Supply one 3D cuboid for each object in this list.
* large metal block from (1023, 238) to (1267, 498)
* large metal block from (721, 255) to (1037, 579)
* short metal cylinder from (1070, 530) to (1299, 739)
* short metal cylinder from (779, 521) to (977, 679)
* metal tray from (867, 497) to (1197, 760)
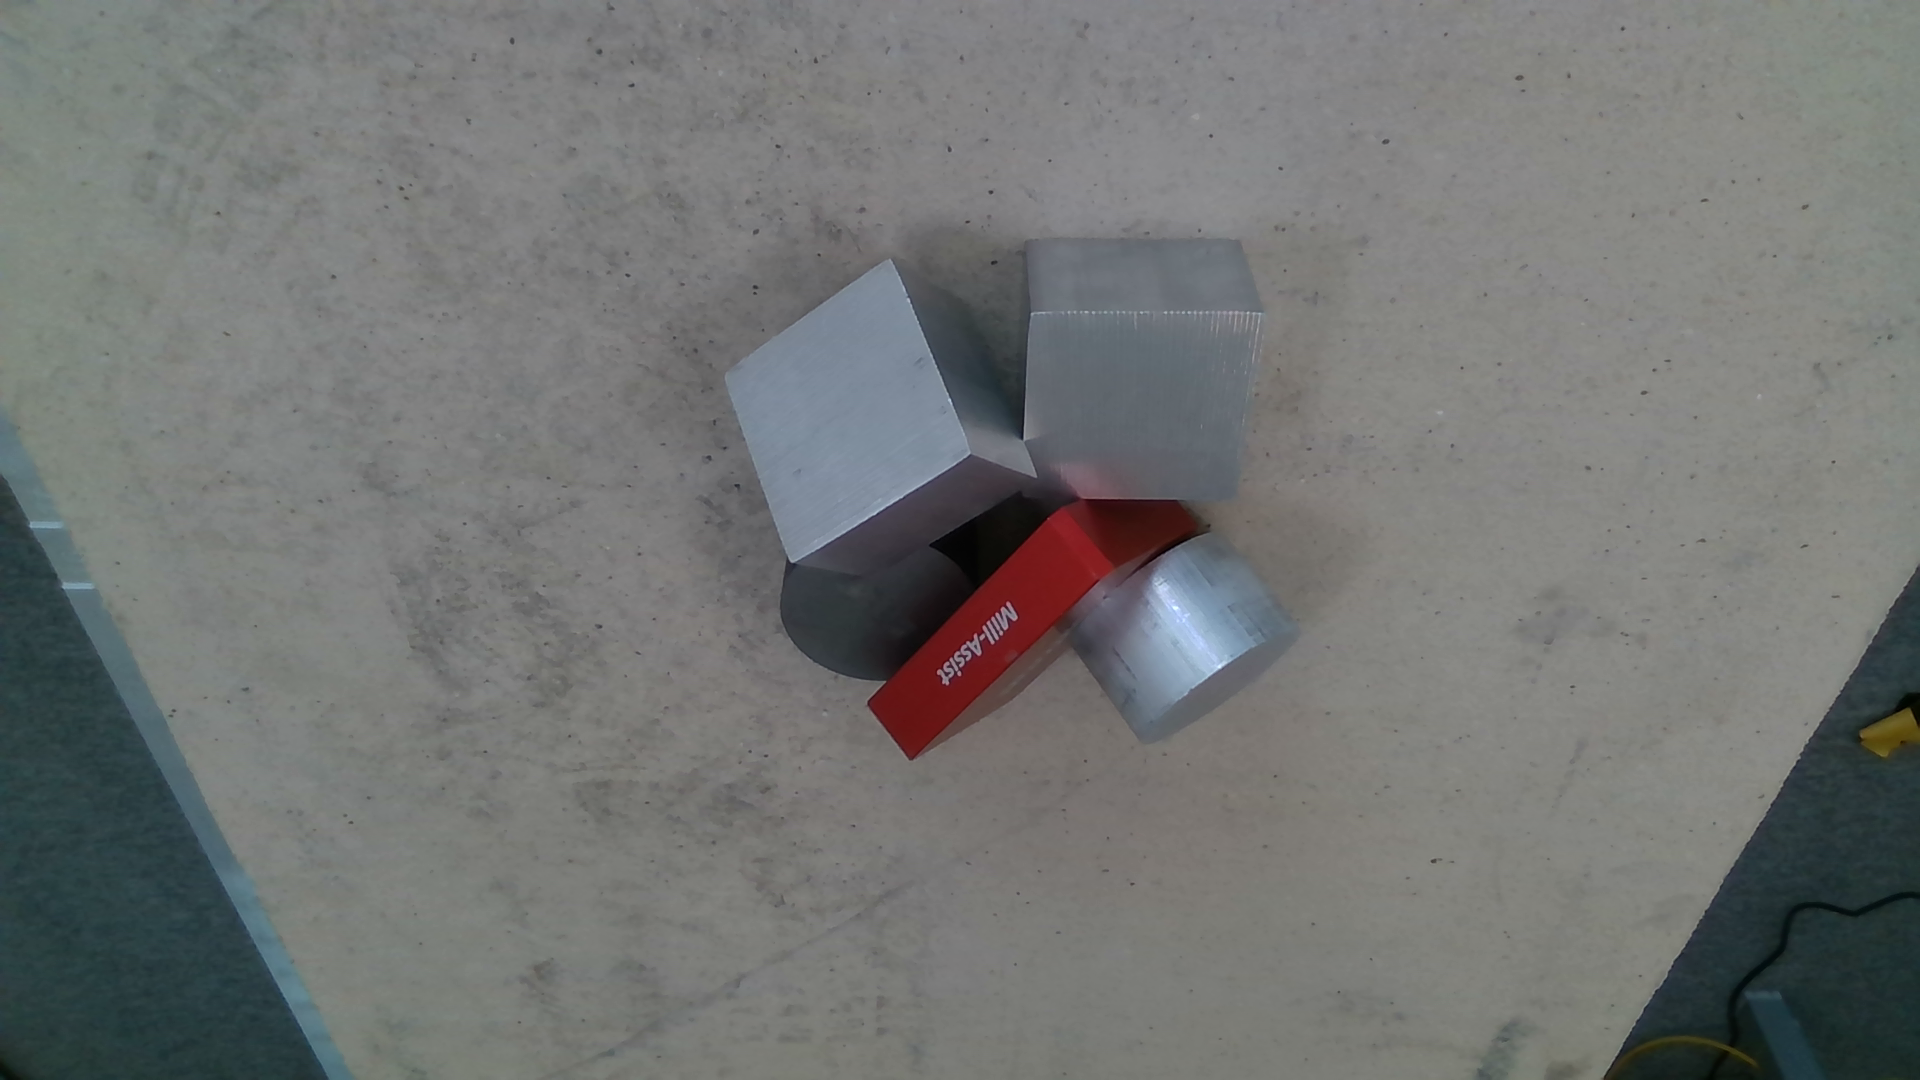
[{"bbox_3d":[0.063,-0.063,0.508,0.080,0.050,0.080,1,130,0],"label":"large metal block"},{"bbox_3d":[-0.030,-0.042,0.500,0.080,0.080,0.050,-30,160,23],"label":"large metal block"},{"bbox_3d":[0.093,0.040,0.572,0.080,0.050,0.080,-30,160,-12],"label":"short metal cylinder"},{"bbox_3d":[-0.033,0.012,0.575,0.080,0.050,0.080,0,130,0],"label":"short metal cylinder"},{"bbox_3d":[0.029,0.031,0.565,0.030,0.090,0.130,50,122,12],"label":"metal tray"}]
